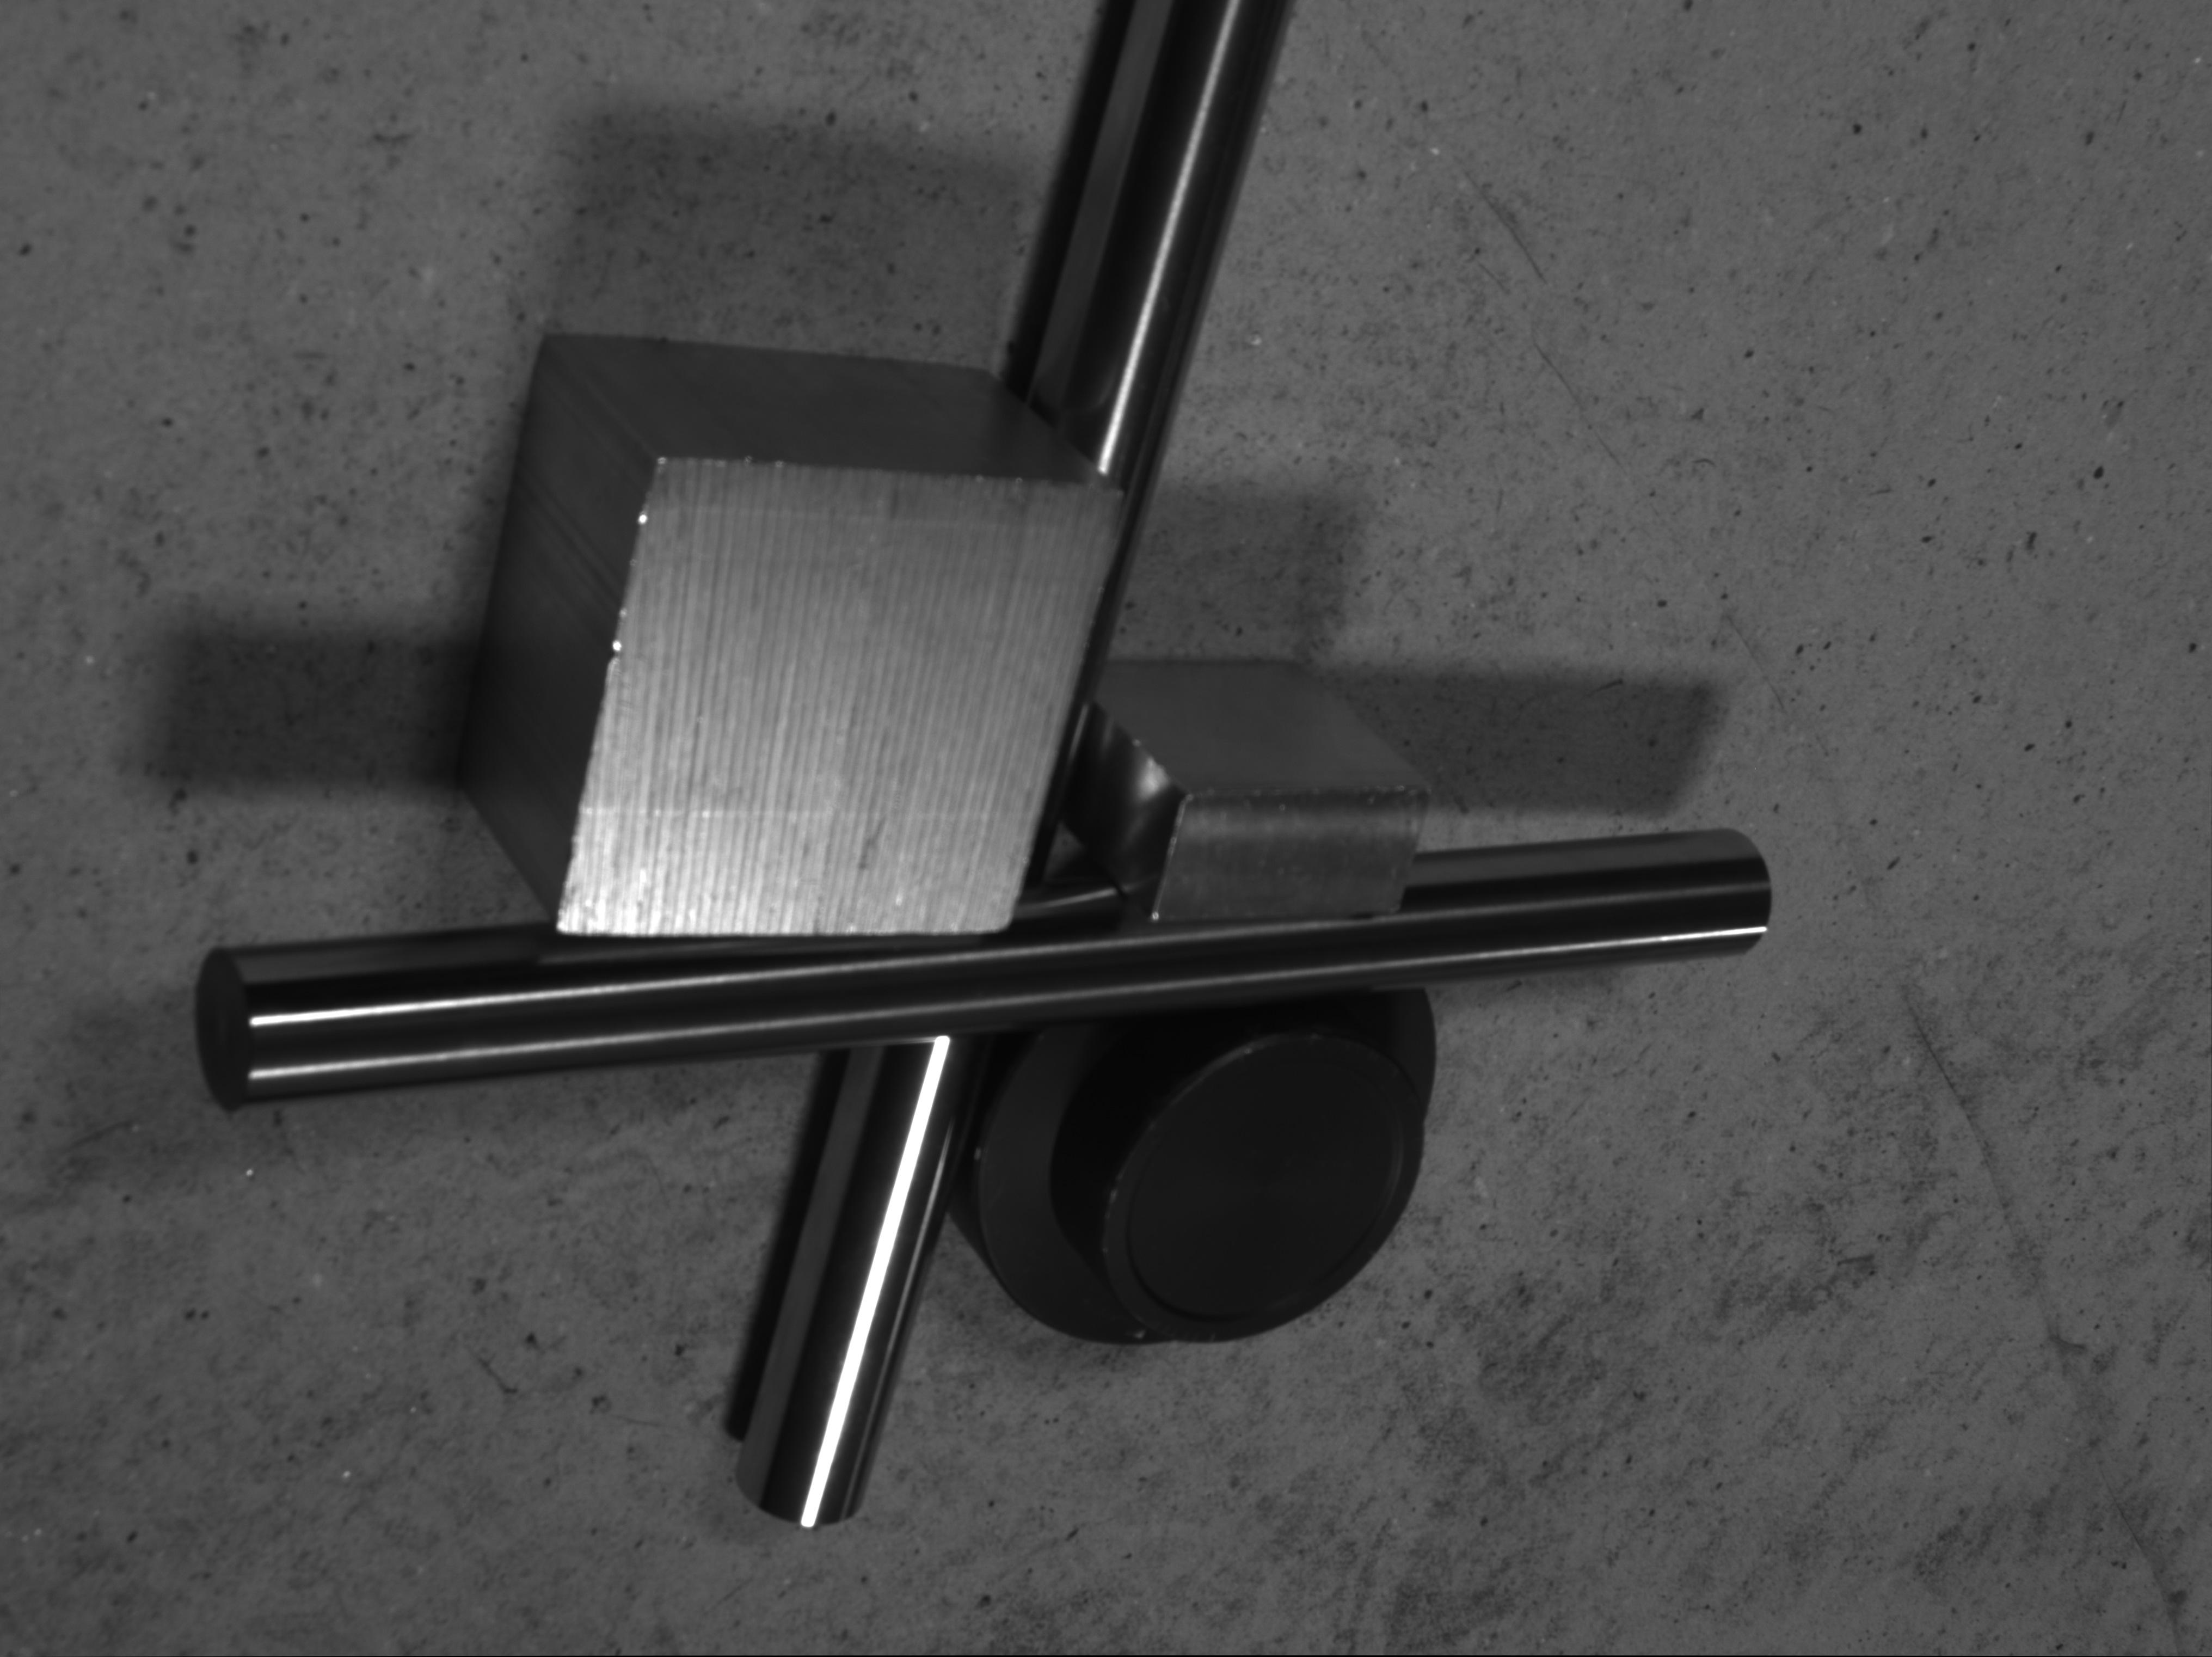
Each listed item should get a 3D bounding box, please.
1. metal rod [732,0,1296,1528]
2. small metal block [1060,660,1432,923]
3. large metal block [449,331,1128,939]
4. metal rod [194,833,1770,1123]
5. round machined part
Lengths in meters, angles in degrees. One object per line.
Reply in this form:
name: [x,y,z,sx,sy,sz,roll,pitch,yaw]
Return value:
metal rod: [-0.019,-0.007,0.635,0.025,0.025,0.300,2,117,-31]
small metal block: [0.021,-0.007,0.642,0.050,0.050,0.025,-1,119,-30]
large metal block: [-0.052,-0.030,0.585,0.080,0.050,0.080,1,118,-31]
metal rod: [-0.006,0.022,0.629,0.301,0.025,0.025,-4,120,-33]
round machined part: [0.020,0.058,0.686,0.098,0.042,0.098,-15,125,-22]
